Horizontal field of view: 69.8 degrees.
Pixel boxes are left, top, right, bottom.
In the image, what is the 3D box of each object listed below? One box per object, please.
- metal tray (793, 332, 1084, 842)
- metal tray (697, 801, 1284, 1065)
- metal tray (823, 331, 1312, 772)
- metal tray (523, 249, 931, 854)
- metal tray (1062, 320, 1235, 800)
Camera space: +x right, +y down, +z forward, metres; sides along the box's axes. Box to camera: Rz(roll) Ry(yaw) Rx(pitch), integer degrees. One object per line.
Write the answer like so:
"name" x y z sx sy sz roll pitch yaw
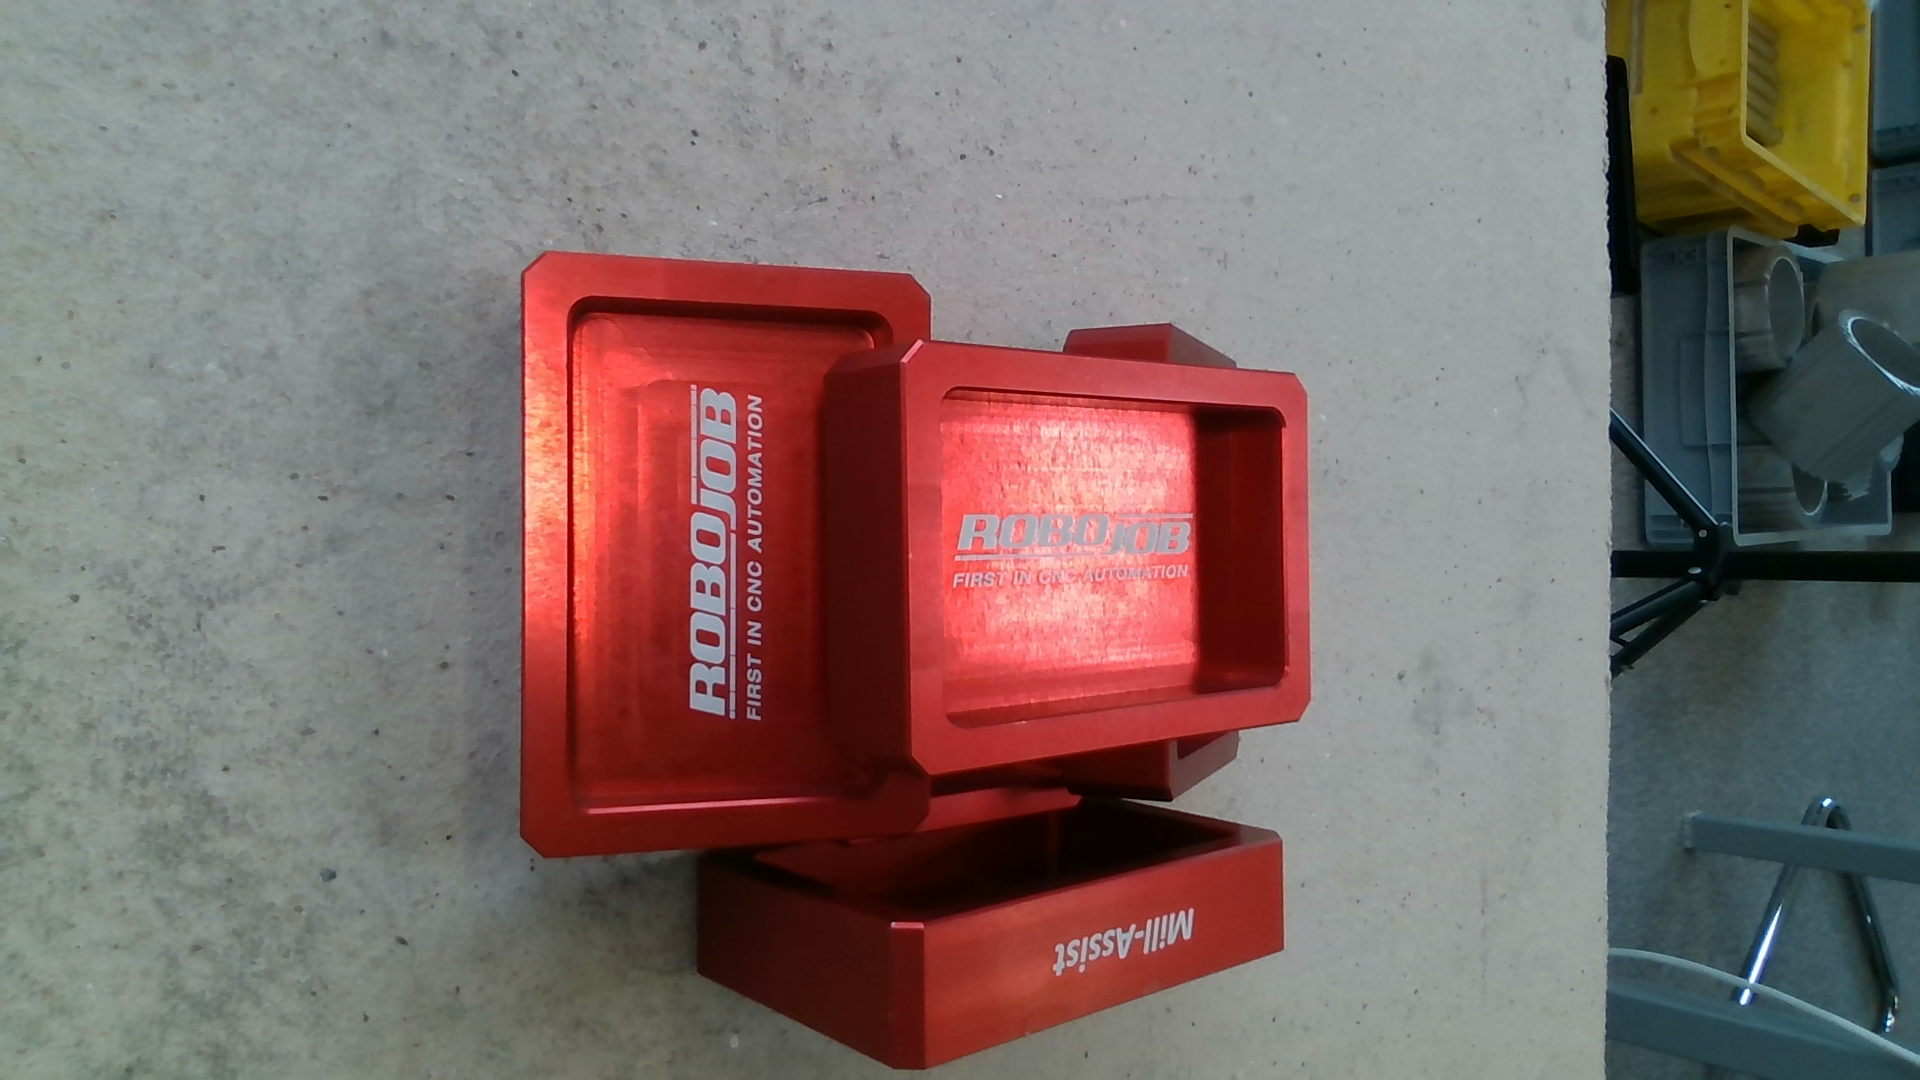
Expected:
"metal tray" -0.005 0.011 0.381 0.090 0.030 0.130 -1 91 -39
"metal tray" 0.010 0.093 0.357 0.130 0.090 0.030 -1 90 -40
"metal tray" 0.031 0.001 0.329 0.130 0.030 0.090 -1 91 -38
"metal tray" -0.054 0.003 0.320 0.090 0.030 0.130 0 90 -15
"metal tray" 0.059 0.005 0.415 0.090 0.030 0.130 -1 91 -67
